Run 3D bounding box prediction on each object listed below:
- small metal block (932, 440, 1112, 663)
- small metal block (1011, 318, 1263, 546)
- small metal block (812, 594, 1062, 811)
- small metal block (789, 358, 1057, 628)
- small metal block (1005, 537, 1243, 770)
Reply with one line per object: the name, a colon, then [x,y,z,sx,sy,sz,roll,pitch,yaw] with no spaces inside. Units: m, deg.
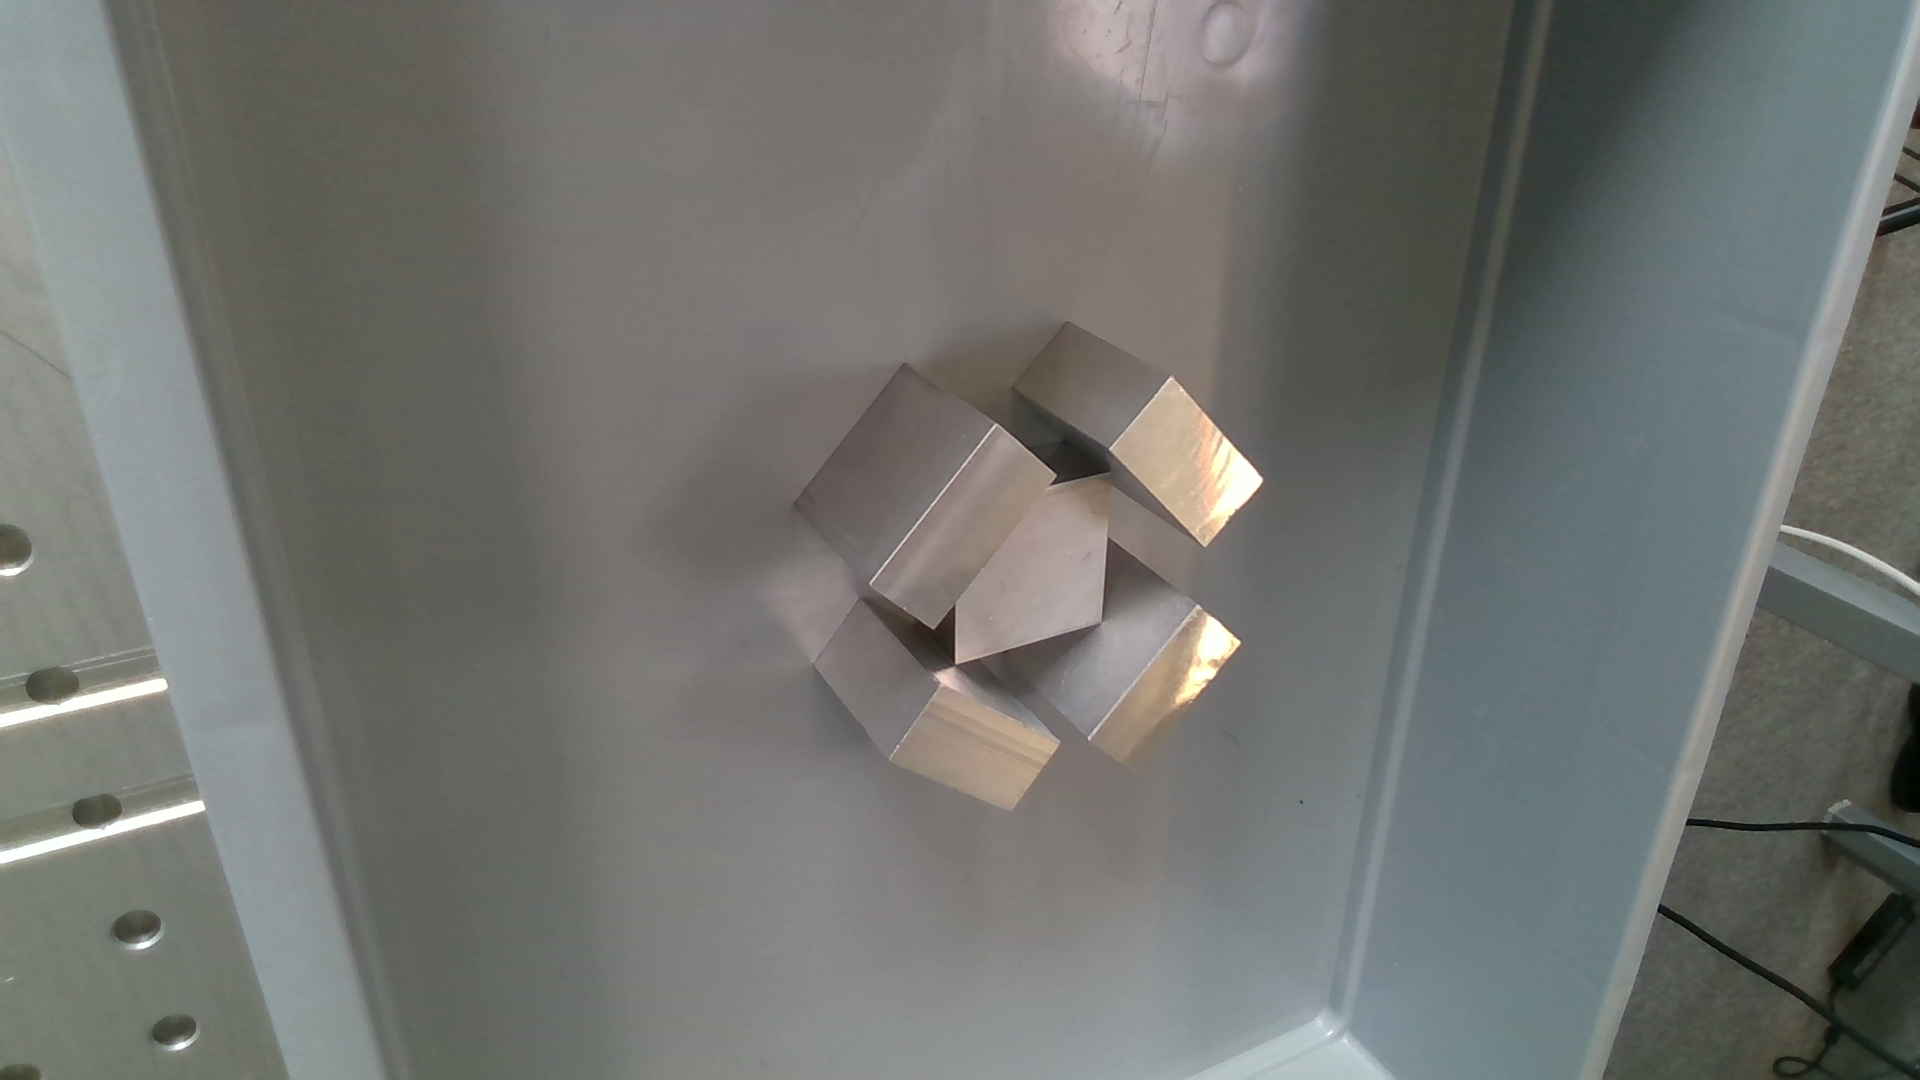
small metal block: [0.015,0.002,0.398,0.050,0.025,0.050,-14,121,-25]
small metal block: [0.049,-0.031,0.385,0.025,0.050,0.050,-50,129,0]
small metal block: [-0.007,0.046,0.392,0.050,0.050,0.025,30,98,-40]
small metal block: [-0.011,-0.013,0.358,0.025,0.050,0.050,37,92,-38]
small metal block: [0.048,0.033,0.419,0.050,0.050,0.025,-51,130,3]
